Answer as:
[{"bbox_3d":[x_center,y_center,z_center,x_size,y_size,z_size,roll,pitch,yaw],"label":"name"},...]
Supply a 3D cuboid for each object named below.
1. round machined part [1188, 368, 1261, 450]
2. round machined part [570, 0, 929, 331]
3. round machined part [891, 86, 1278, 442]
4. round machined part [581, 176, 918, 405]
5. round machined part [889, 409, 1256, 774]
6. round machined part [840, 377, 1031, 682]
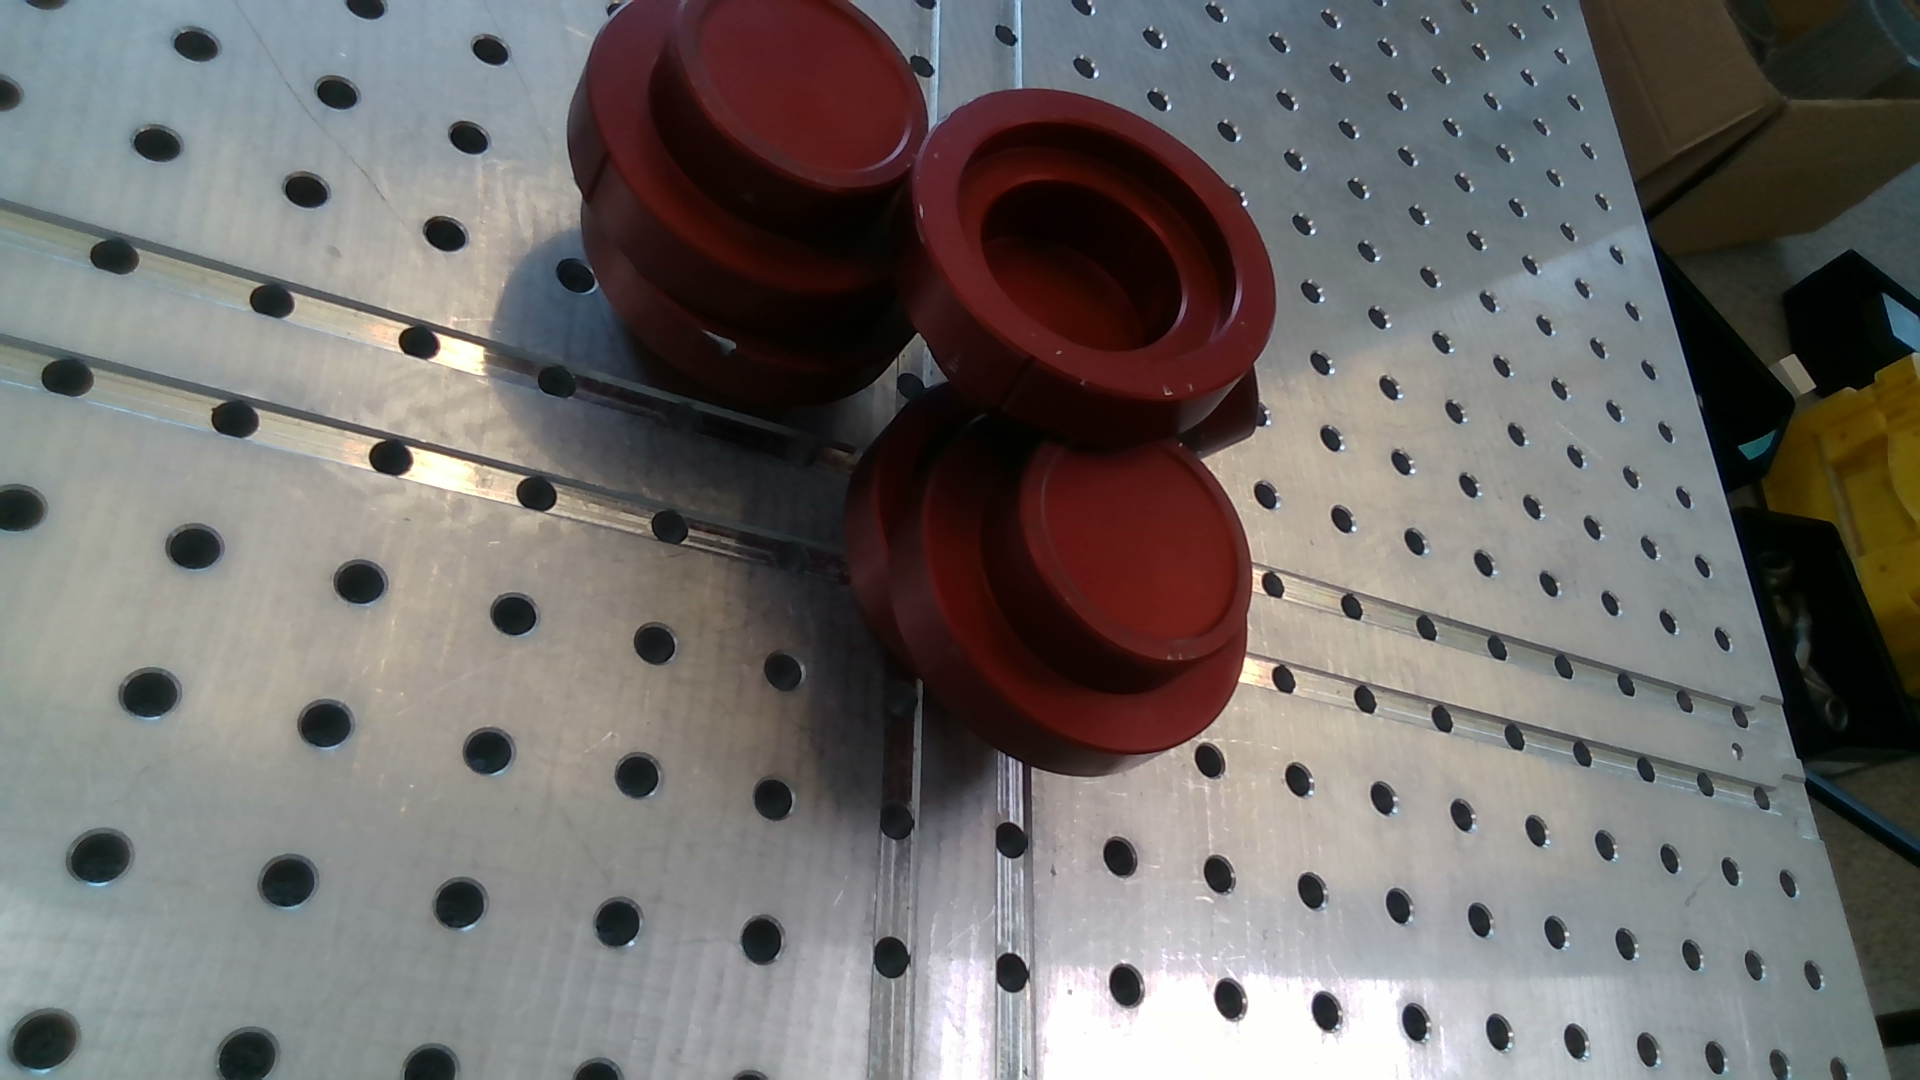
[{"bbox_3d":[0.052,-0.069,0.429,0.042,0.098,0.098,-24,77,-2],"label":"round machined part"},{"bbox_3d":[-0.047,-0.107,0.358,0.098,0.042,0.098,14,59,-25],"label":"round machined part"},{"bbox_3d":[0.029,-0.066,0.355,0.098,0.042,0.098,11,57,-17],"label":"round machined part"},{"bbox_3d":[-0.049,-0.089,0.376,0.098,0.042,0.098,14,59,-25],"label":"round machined part"},{"bbox_3d":[0.035,0.006,0.348,0.098,0.042,0.098,15,58,-25],"label":"round machined part"},{"bbox_3d":[0.021,-0.005,0.373,0.098,0.042,0.098,14,59,-25],"label":"round machined part"}]
